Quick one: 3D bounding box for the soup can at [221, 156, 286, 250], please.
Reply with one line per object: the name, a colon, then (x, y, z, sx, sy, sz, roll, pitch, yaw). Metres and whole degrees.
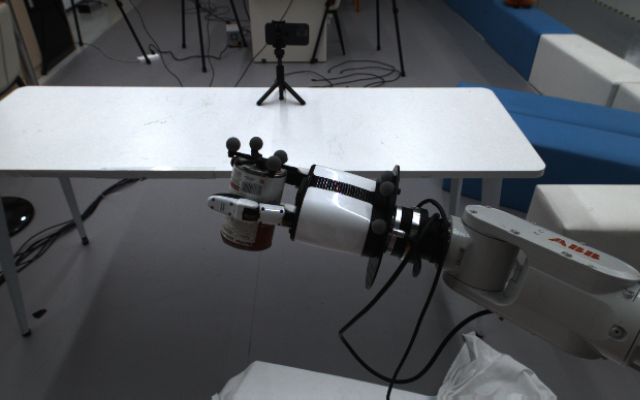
soup can: (-0.082, 0.005, 0.606, 0.067, 0.101, 0.067, 13, 18, -4)
